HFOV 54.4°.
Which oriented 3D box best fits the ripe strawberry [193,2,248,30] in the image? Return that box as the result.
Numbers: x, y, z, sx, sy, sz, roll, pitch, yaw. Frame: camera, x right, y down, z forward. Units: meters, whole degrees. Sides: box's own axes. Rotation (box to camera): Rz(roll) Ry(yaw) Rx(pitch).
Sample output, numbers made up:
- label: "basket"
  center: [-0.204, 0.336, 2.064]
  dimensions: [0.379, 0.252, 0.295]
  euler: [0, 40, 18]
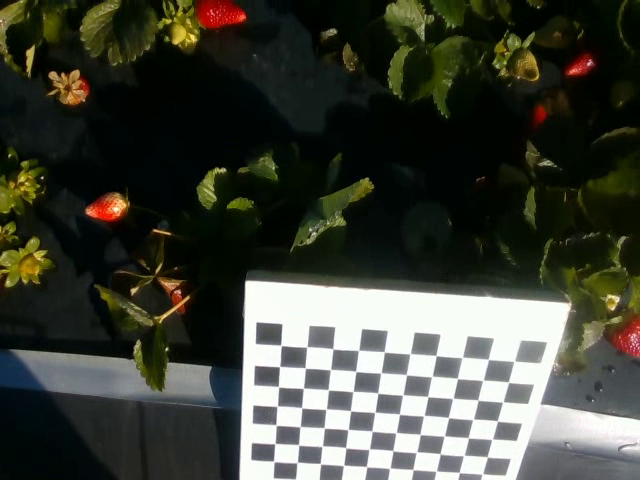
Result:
- label: "ripe strawberry"
  center: [-0.106, -0.244, 0.664]
  dimensions: [0.064, 0.050, 0.052]
  euler: [16, 28, 5]

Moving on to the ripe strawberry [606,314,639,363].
- label: "ripe strawberry"
  center: [0.318, 0.102, 0.631]
  dimensions: [0.048, 0.055, 0.030]
  euler: [-37, 20, 19]
